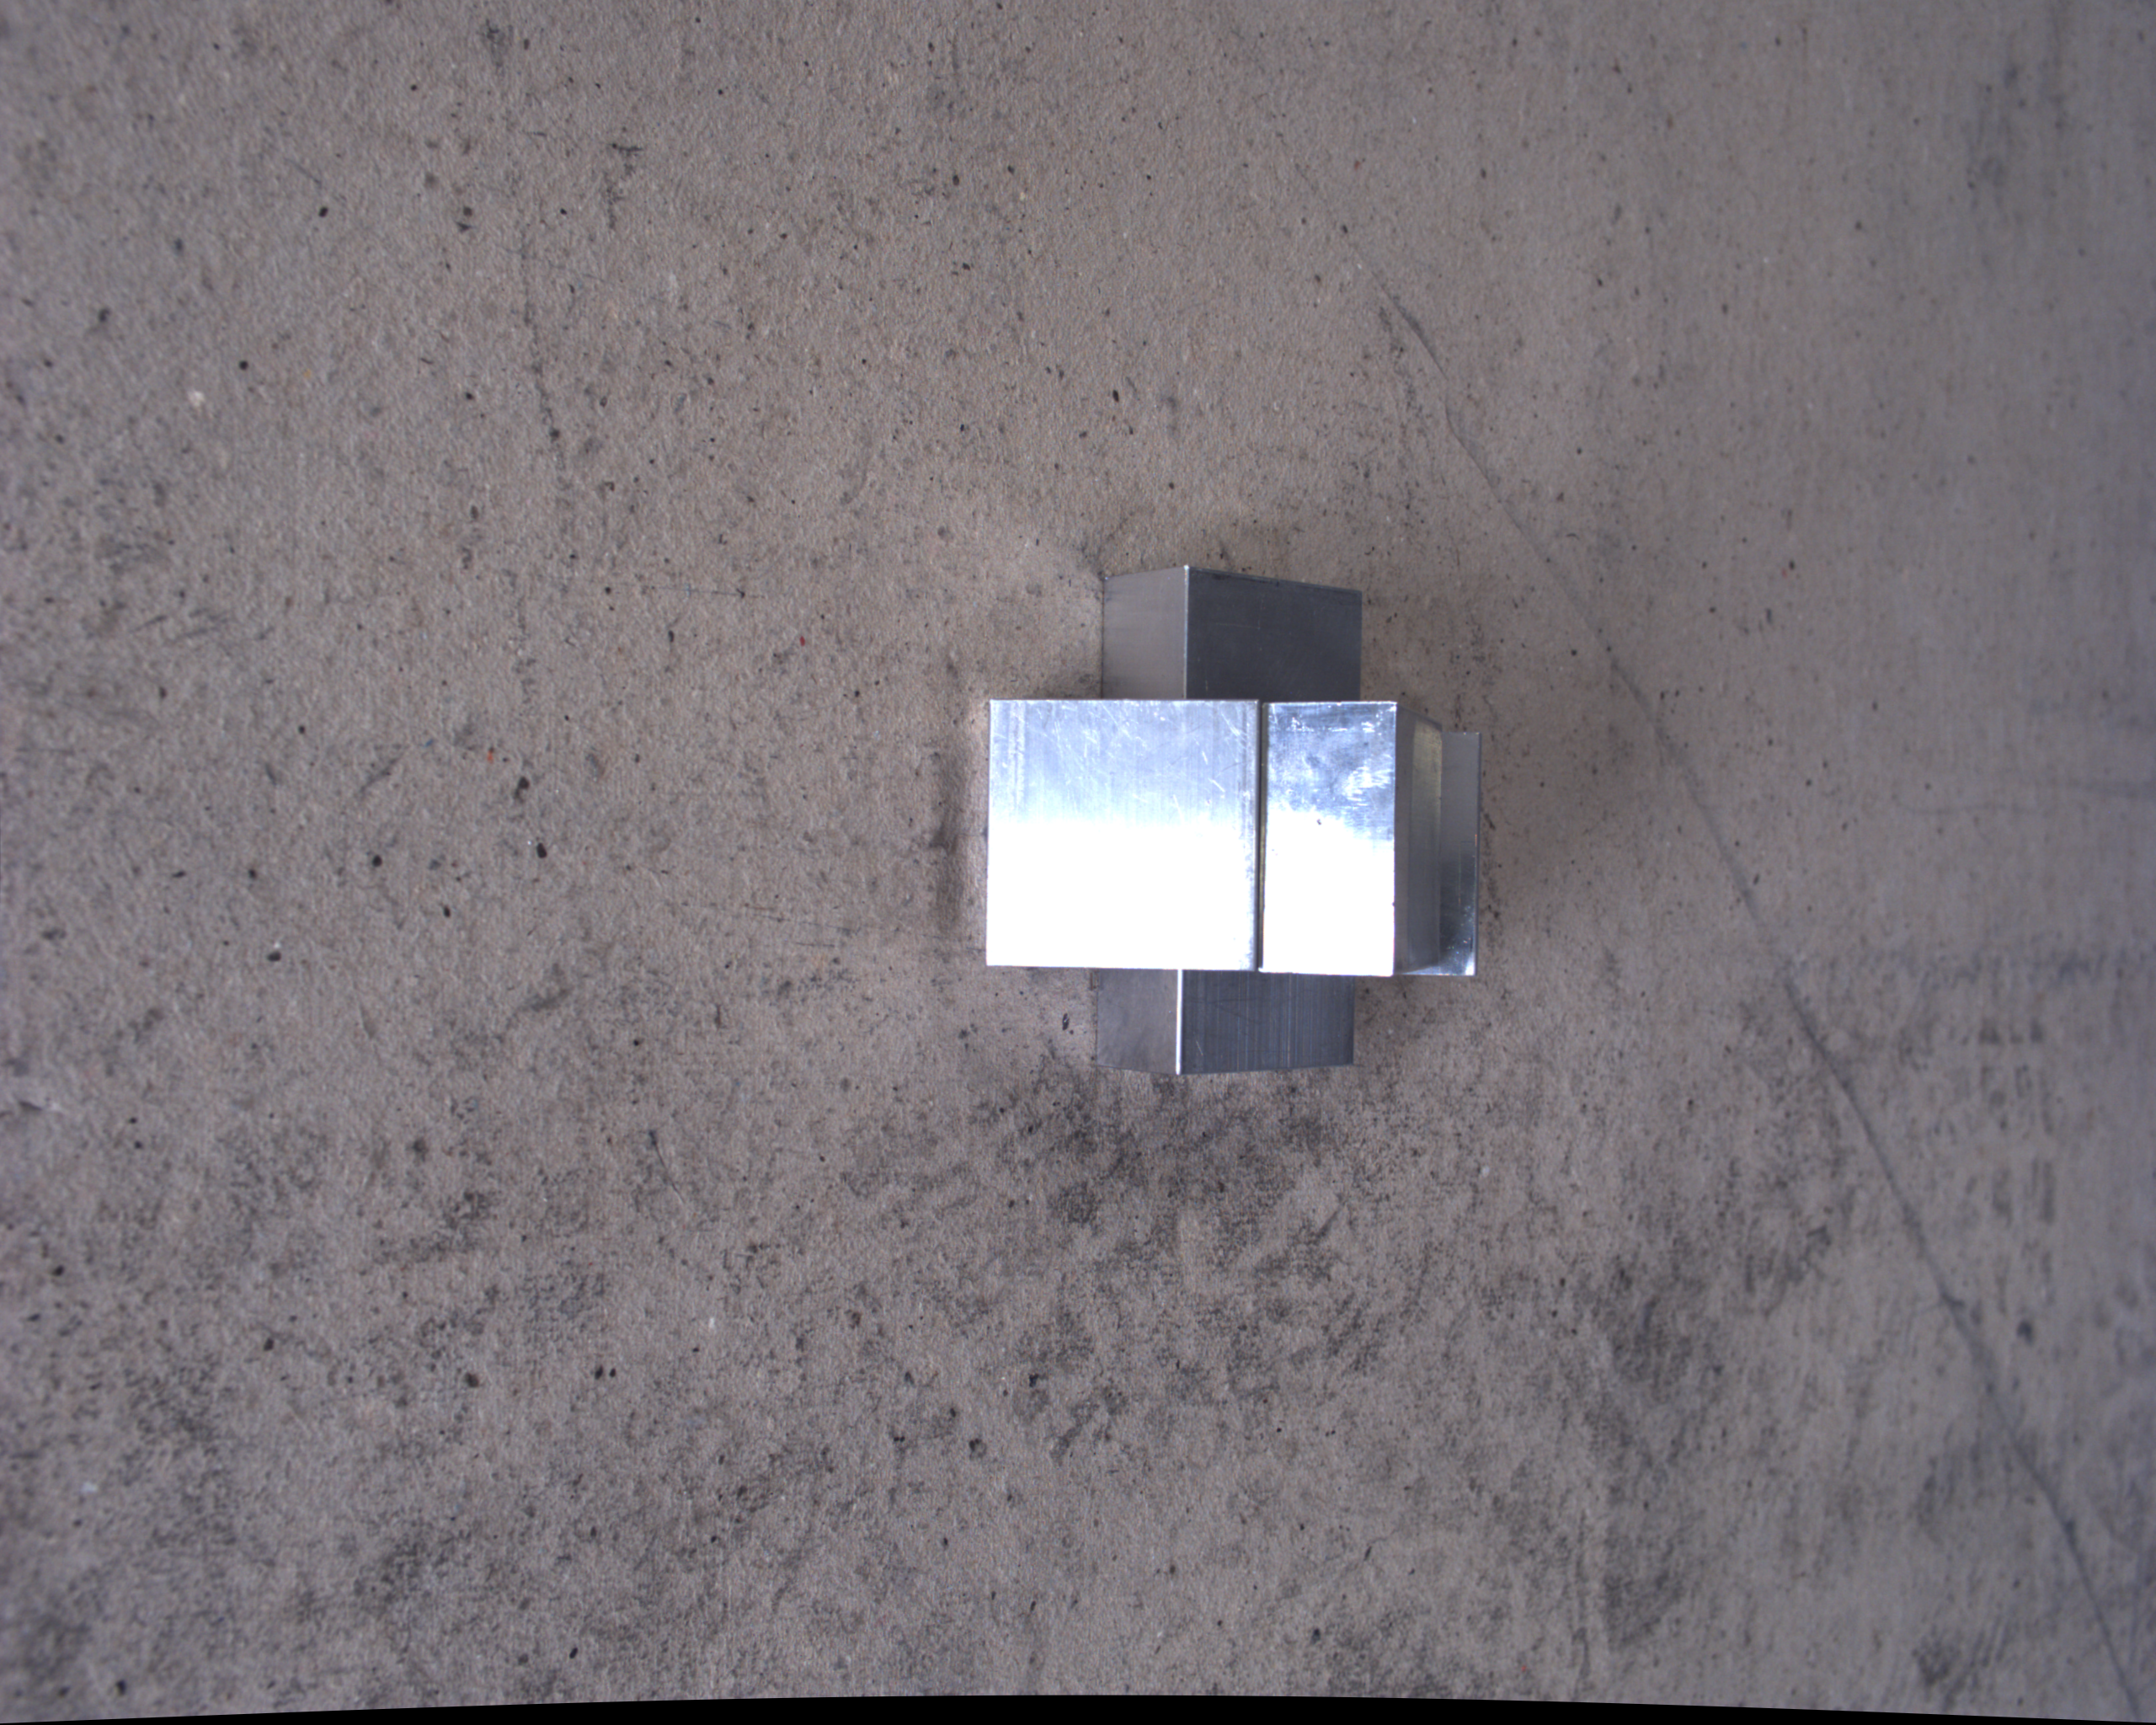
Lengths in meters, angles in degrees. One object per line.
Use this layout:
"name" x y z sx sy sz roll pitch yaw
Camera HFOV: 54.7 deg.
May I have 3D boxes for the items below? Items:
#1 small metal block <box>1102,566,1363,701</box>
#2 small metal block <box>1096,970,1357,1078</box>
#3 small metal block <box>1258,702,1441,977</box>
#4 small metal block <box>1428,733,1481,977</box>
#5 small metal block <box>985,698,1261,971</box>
"small metal block" 0.032 -0.033 0.433 0.050 0.025 0.050 1 90 -40
"small metal block" 0.031 0.017 0.432 0.050 0.025 0.050 1 90 -40
"small metal block" 0.054 -0.004 0.404 0.050 0.025 0.050 3 88 -71
"small metal block" 0.074 -0.002 0.451 0.050 0.025 0.050 3 88 -80
"small metal block" 0.010 -0.005 0.396 0.025 0.050 0.050 2 88 -82
